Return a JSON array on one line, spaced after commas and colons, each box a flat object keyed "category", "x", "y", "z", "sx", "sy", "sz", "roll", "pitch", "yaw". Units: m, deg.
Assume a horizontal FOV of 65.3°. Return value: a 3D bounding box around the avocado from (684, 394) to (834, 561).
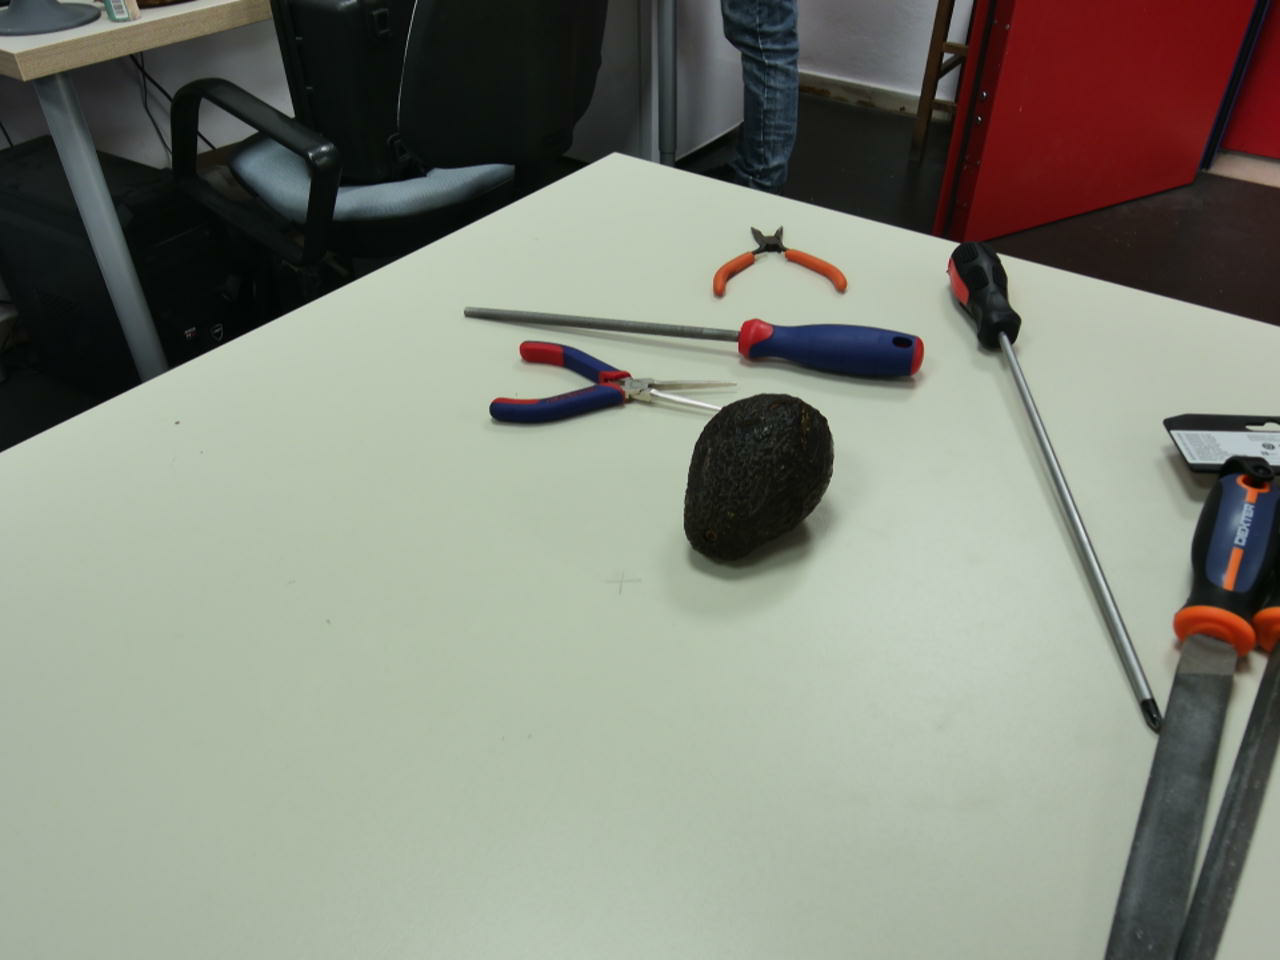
[{"category": "avocado", "x": 0.057, "y": -0.006, "z": 0.510, "sx": 0.090, "sy": 0.069, "sz": 0.070, "roll": -18, "pitch": 40, "yaw": -21}]
